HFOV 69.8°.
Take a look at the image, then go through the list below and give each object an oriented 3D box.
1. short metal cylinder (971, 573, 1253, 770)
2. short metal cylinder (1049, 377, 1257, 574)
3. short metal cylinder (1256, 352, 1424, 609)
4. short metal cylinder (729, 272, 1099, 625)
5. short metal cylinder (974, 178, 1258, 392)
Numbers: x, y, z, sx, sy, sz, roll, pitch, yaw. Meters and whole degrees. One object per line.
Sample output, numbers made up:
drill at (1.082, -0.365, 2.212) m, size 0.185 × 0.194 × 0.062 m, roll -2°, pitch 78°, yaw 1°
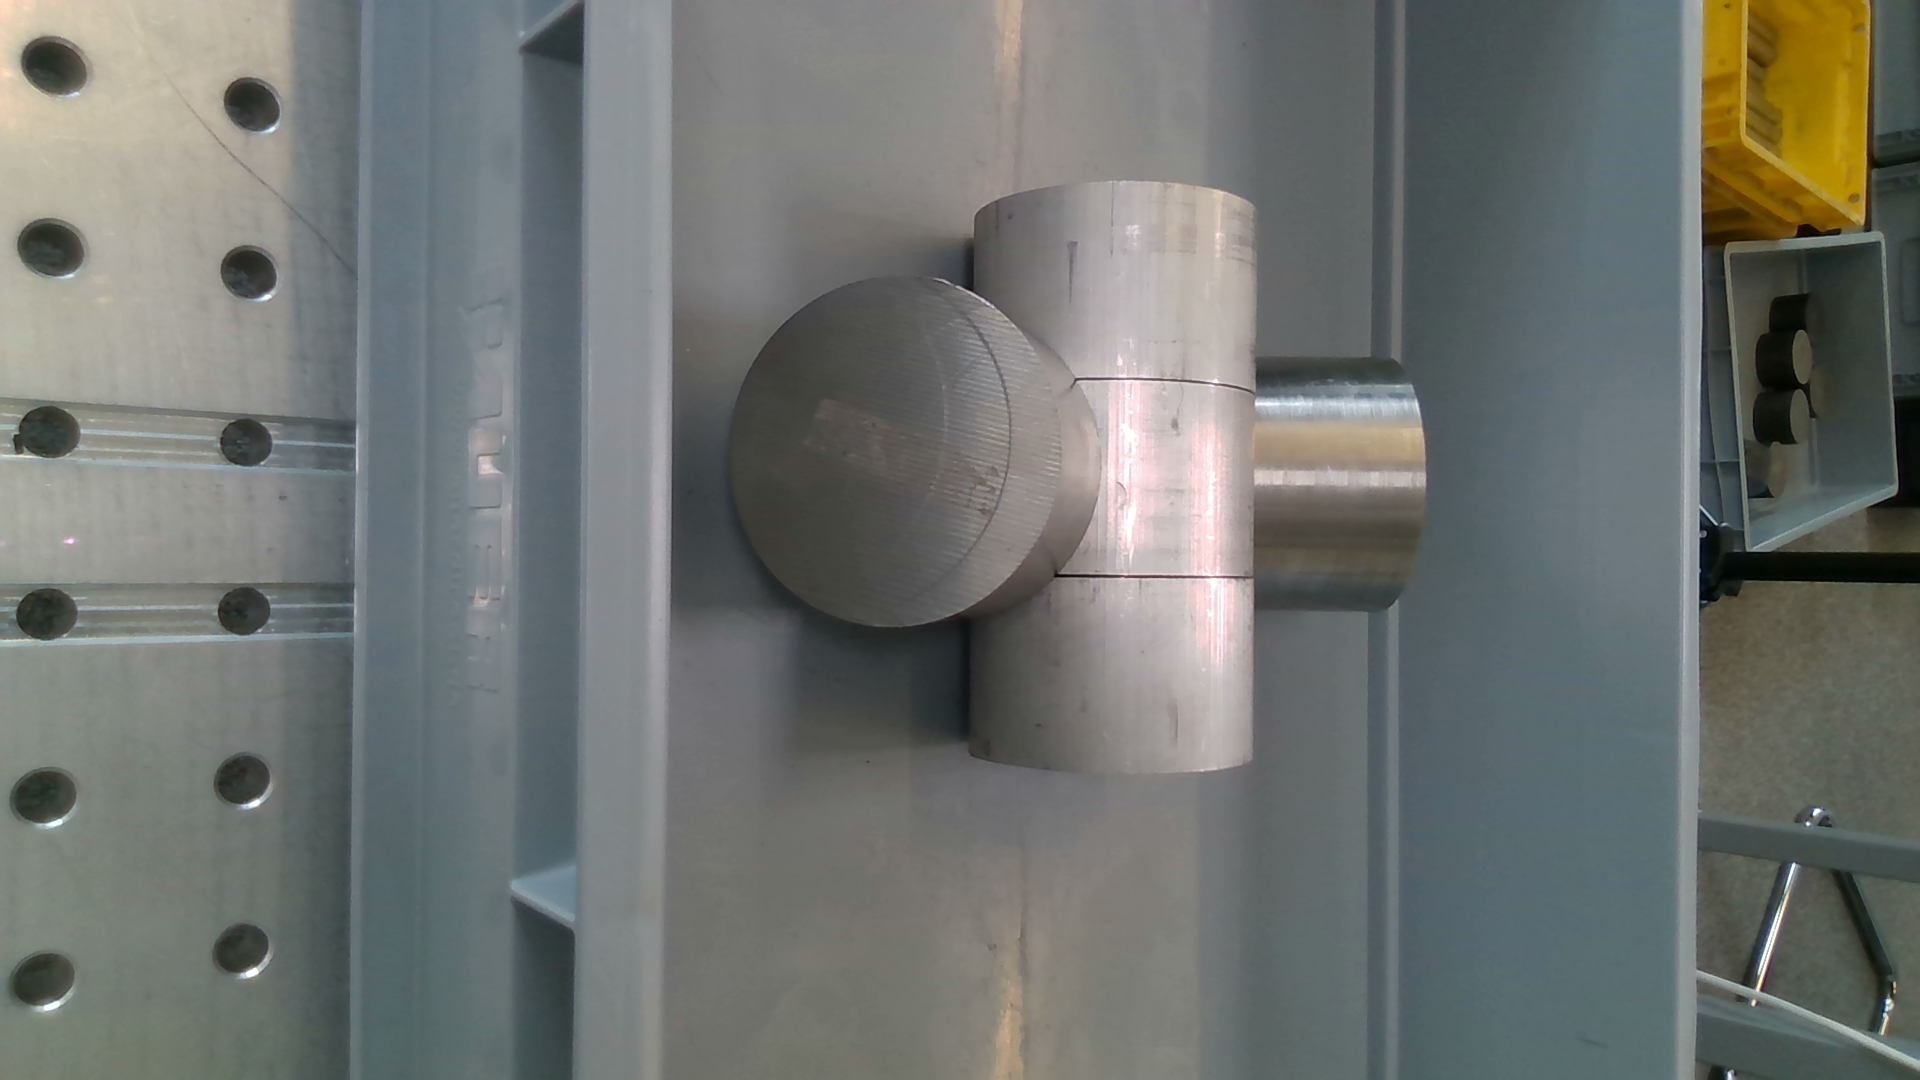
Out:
short metal cylinder at (0.043, 0.034, 0.390) m, size 0.080 × 0.080 × 0.050 m, roll 2°, pitch 88°, yaw -40°
short metal cylinder at (0.043, -0.016, 0.390) m, size 0.080 × 0.080 × 0.050 m, roll 2°, pitch 88°, yaw -40°
short metal cylinder at (0.107, -0.019, 0.434) m, size 0.050 × 0.080 × 0.080 m, roll 1°, pitch 89°, yaw -2°
short metal cylinder at (-0.009, -0.021, 0.337) m, size 0.050 × 0.080 × 0.080 m, roll 0°, pitch 90°, yaw -74°
short metal cylinder at (0.043, -0.066, 0.391) m, size 0.080 × 0.080 × 0.050 m, roll 2°, pitch 88°, yaw -40°
